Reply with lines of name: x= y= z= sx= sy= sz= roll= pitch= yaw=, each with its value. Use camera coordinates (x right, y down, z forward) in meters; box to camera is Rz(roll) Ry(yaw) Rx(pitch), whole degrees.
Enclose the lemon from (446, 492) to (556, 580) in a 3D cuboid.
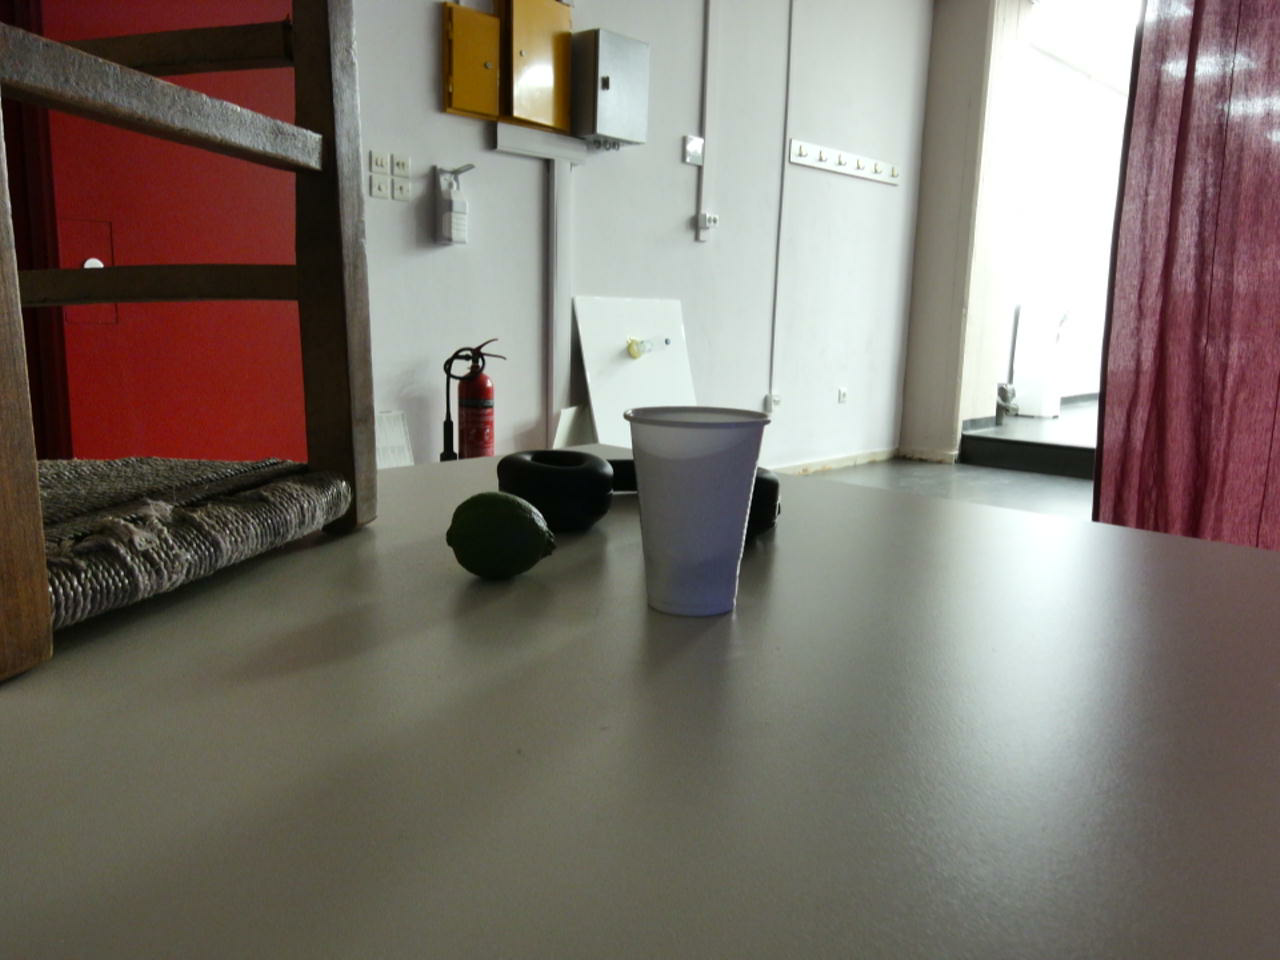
lemon: x=-0.084 y=0.032 z=0.586 sx=0.054 sy=0.051 sz=0.057 roll=7 pitch=10 yaw=38
